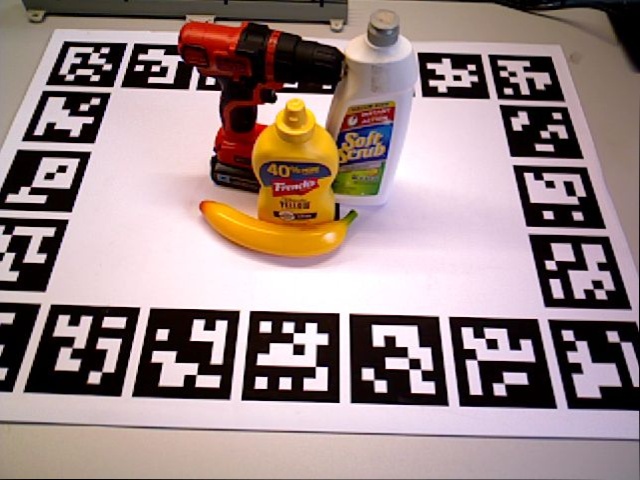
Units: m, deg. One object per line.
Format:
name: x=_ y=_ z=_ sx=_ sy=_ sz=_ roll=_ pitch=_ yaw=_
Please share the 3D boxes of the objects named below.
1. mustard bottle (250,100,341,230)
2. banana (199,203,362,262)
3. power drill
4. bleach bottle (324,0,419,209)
mustard bottle: x=-0.027 y=-0.082 z=0.588 sx=0.096 sy=0.195 sz=0.057 roll=3 pitch=58 yaw=-1
banana: x=-0.051 y=-0.011 z=0.646 sx=0.197 sy=0.039 sz=0.073 roll=5 pitch=60 yaw=5
power drill: x=-0.064 y=-0.155 z=0.607 sx=0.184 sy=0.191 sz=0.056 roll=14 pitch=57 yaw=5
bleach bottle: x=0.046 y=-0.141 z=0.596 sx=0.102 sy=0.256 sz=0.067 roll=5 pitch=52 yaw=1
